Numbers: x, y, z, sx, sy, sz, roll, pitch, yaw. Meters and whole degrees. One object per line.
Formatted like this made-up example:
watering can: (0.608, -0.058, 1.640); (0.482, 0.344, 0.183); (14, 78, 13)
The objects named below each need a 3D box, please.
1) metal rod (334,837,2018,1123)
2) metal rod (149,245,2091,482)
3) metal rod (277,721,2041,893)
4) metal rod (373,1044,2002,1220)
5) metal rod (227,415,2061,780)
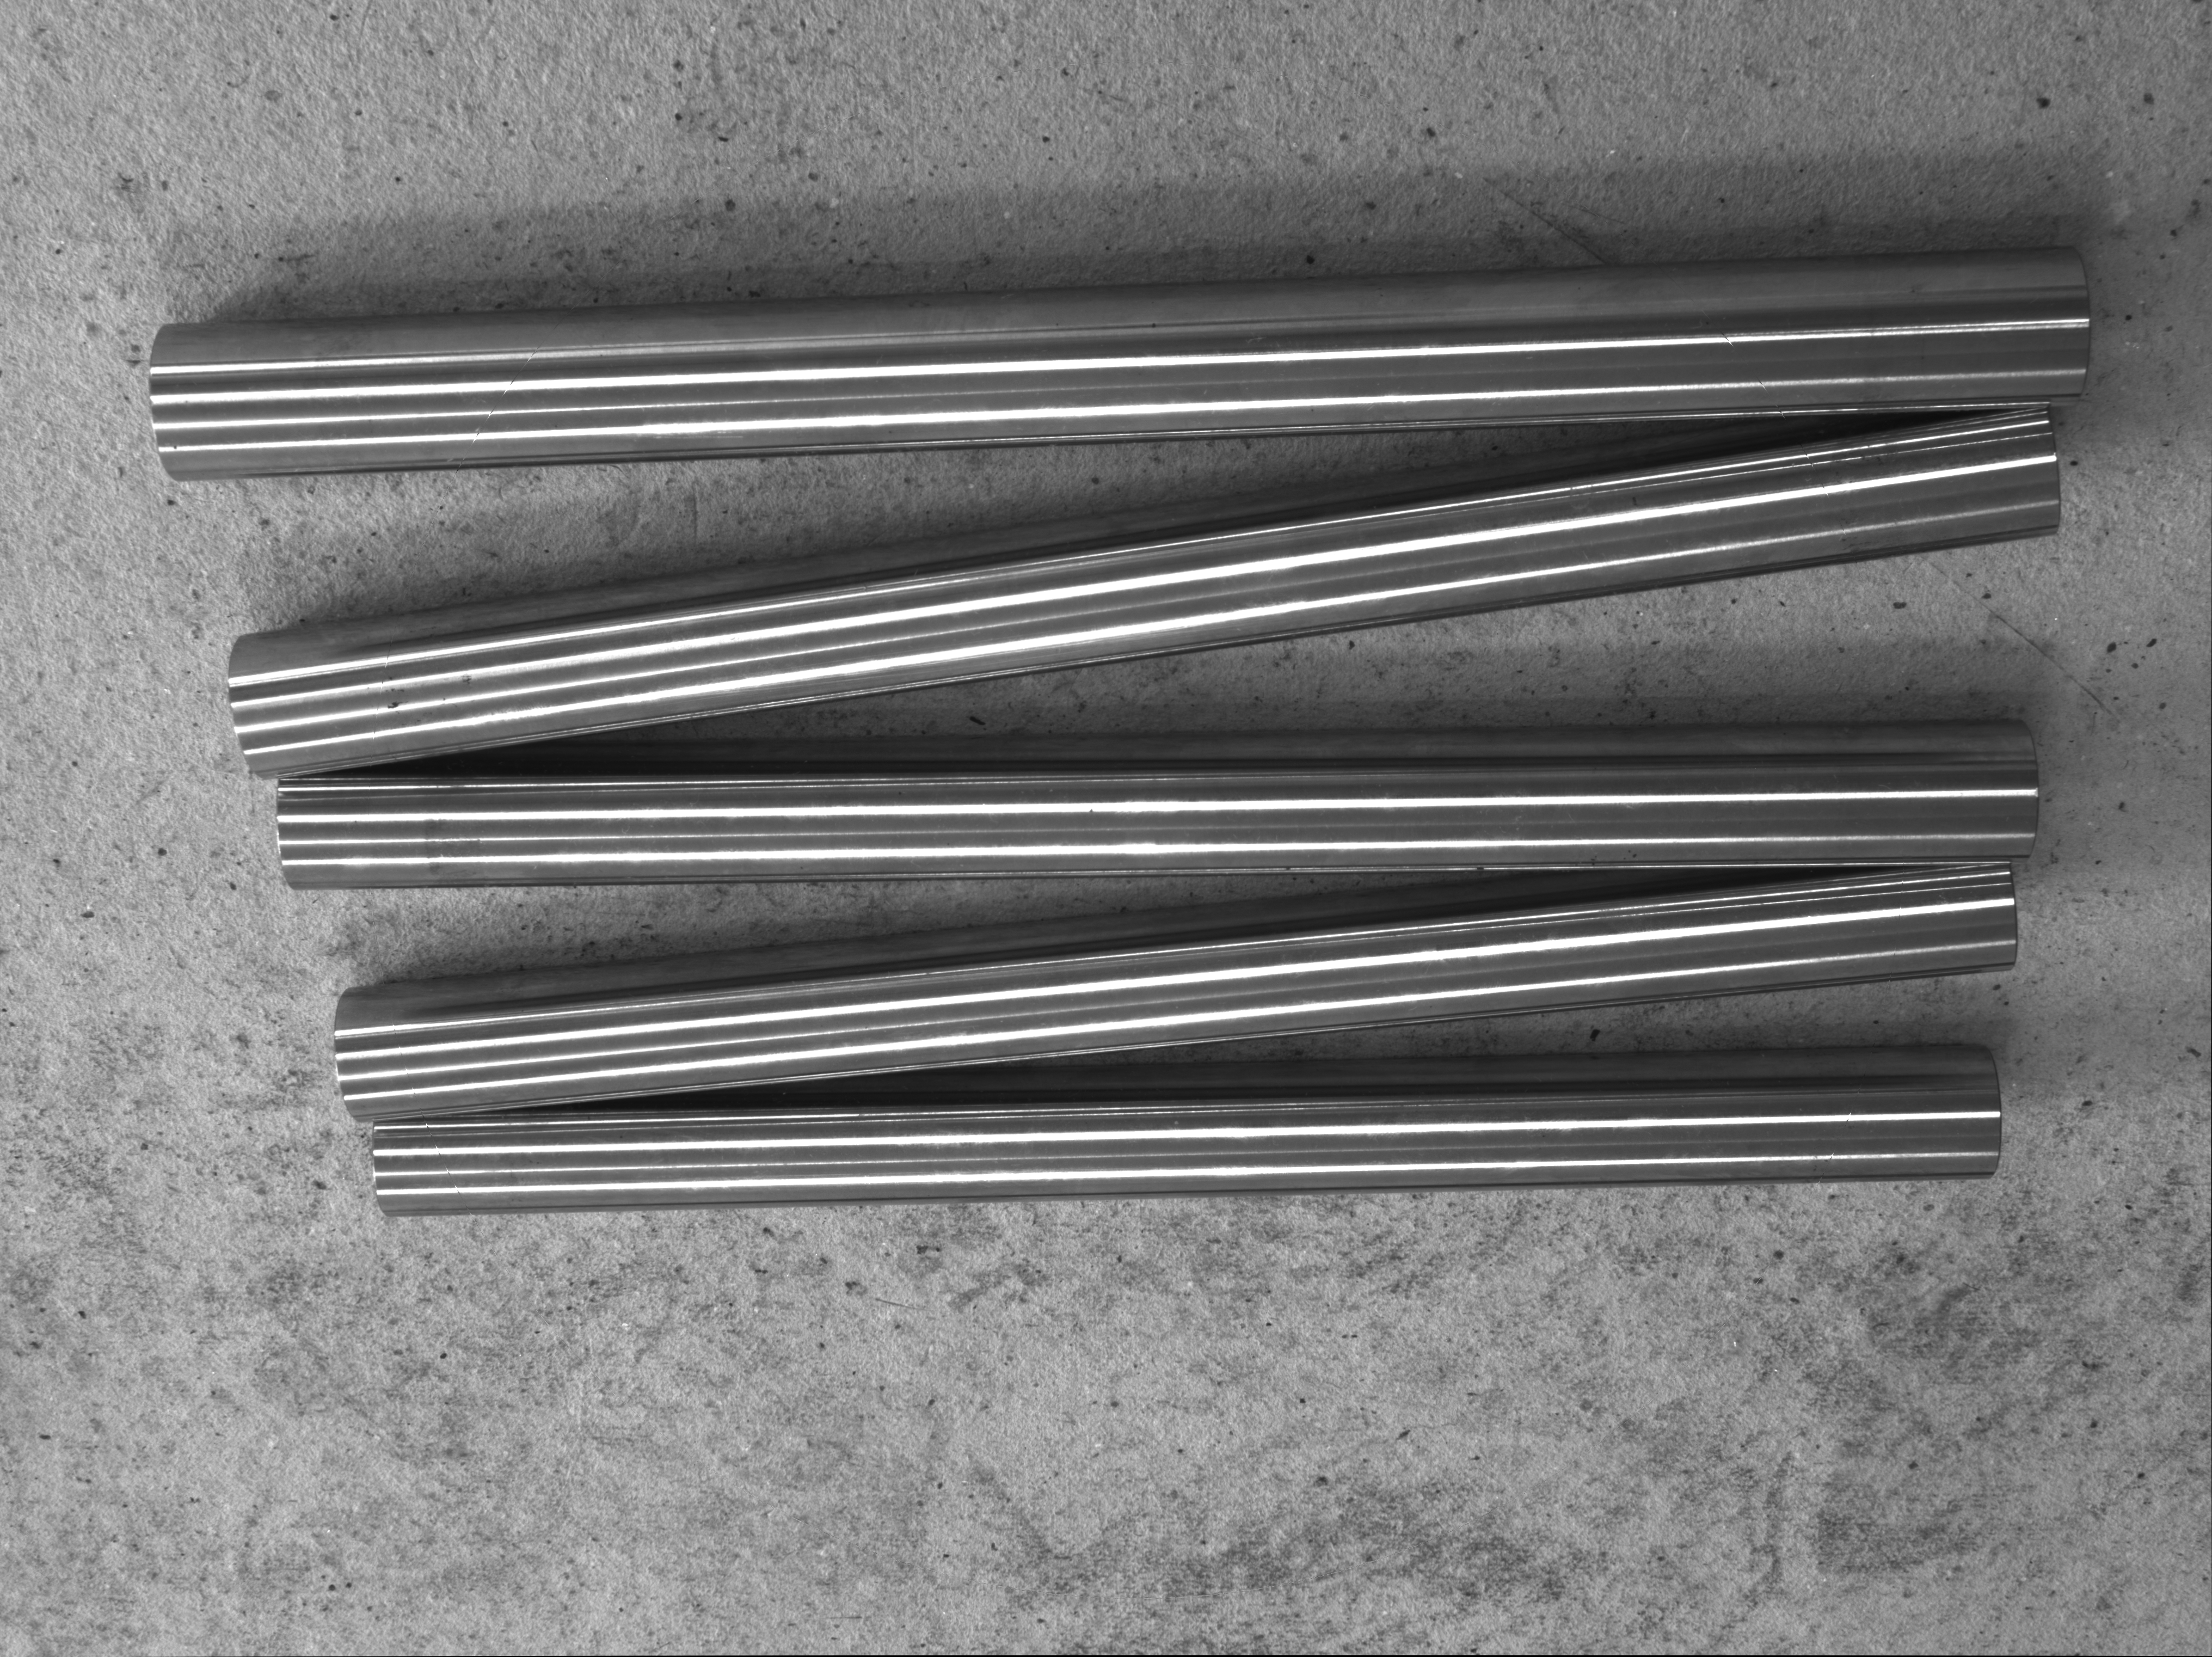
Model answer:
metal rod: (0.011, 0.027, 0.662); (0.300, 0.025, 0.025); (-6, 130, 4)
metal rod: (0.001, -0.073, 0.578); (0.300, 0.025, 0.025); (-2, 130, 2)
metal rod: (0.009, -0.004, 0.636); (0.300, 0.025, 0.025); (-1, 130, 0)
metal rod: (0.015, 0.057, 0.687); (0.300, 0.025, 0.025); (-2, 130, 1)
metal rod: (0.003, -0.040, 0.606); (0.300, 0.025, 0.025); (-7, 130, 6)
